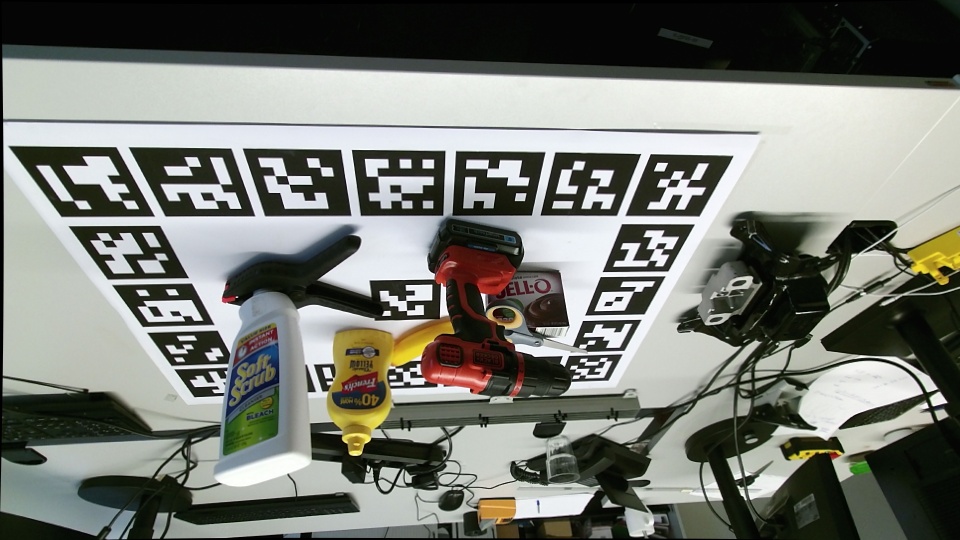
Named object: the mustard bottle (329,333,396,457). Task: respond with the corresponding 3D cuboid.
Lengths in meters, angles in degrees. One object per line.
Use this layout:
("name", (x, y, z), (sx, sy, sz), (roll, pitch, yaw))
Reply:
("mustard bottle", (-0.178, 0.189, 0.817), (0.096, 0.190, 0.058), (9, 137, -16))

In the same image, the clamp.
("clamp", (-0.245, 0.045, 0.728), (0.203, 0.036, 0.165), (-4, 137, 0))

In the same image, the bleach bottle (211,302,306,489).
("bleach bottle", (-0.272, 0.134, 0.669), (0.103, 0.249, 0.068), (-19, 142, 3))

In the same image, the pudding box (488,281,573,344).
("pudding box", (0.069, 0.061, 0.770), (0.114, 0.089, 0.039), (2, 145, -9))

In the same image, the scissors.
("scissors", (0.083, 0.113, 0.735), (0.203, 0.016, 0.088), (20, 129, -21))

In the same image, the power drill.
("power drill", (0.024, 0.064, 0.651), (0.185, 0.186, 0.057), (6, 145, -18))

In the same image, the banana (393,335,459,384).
("banana", (-0.077, 0.148, 0.882), (0.198, 0.038, 0.074), (-28, 152, 23))
